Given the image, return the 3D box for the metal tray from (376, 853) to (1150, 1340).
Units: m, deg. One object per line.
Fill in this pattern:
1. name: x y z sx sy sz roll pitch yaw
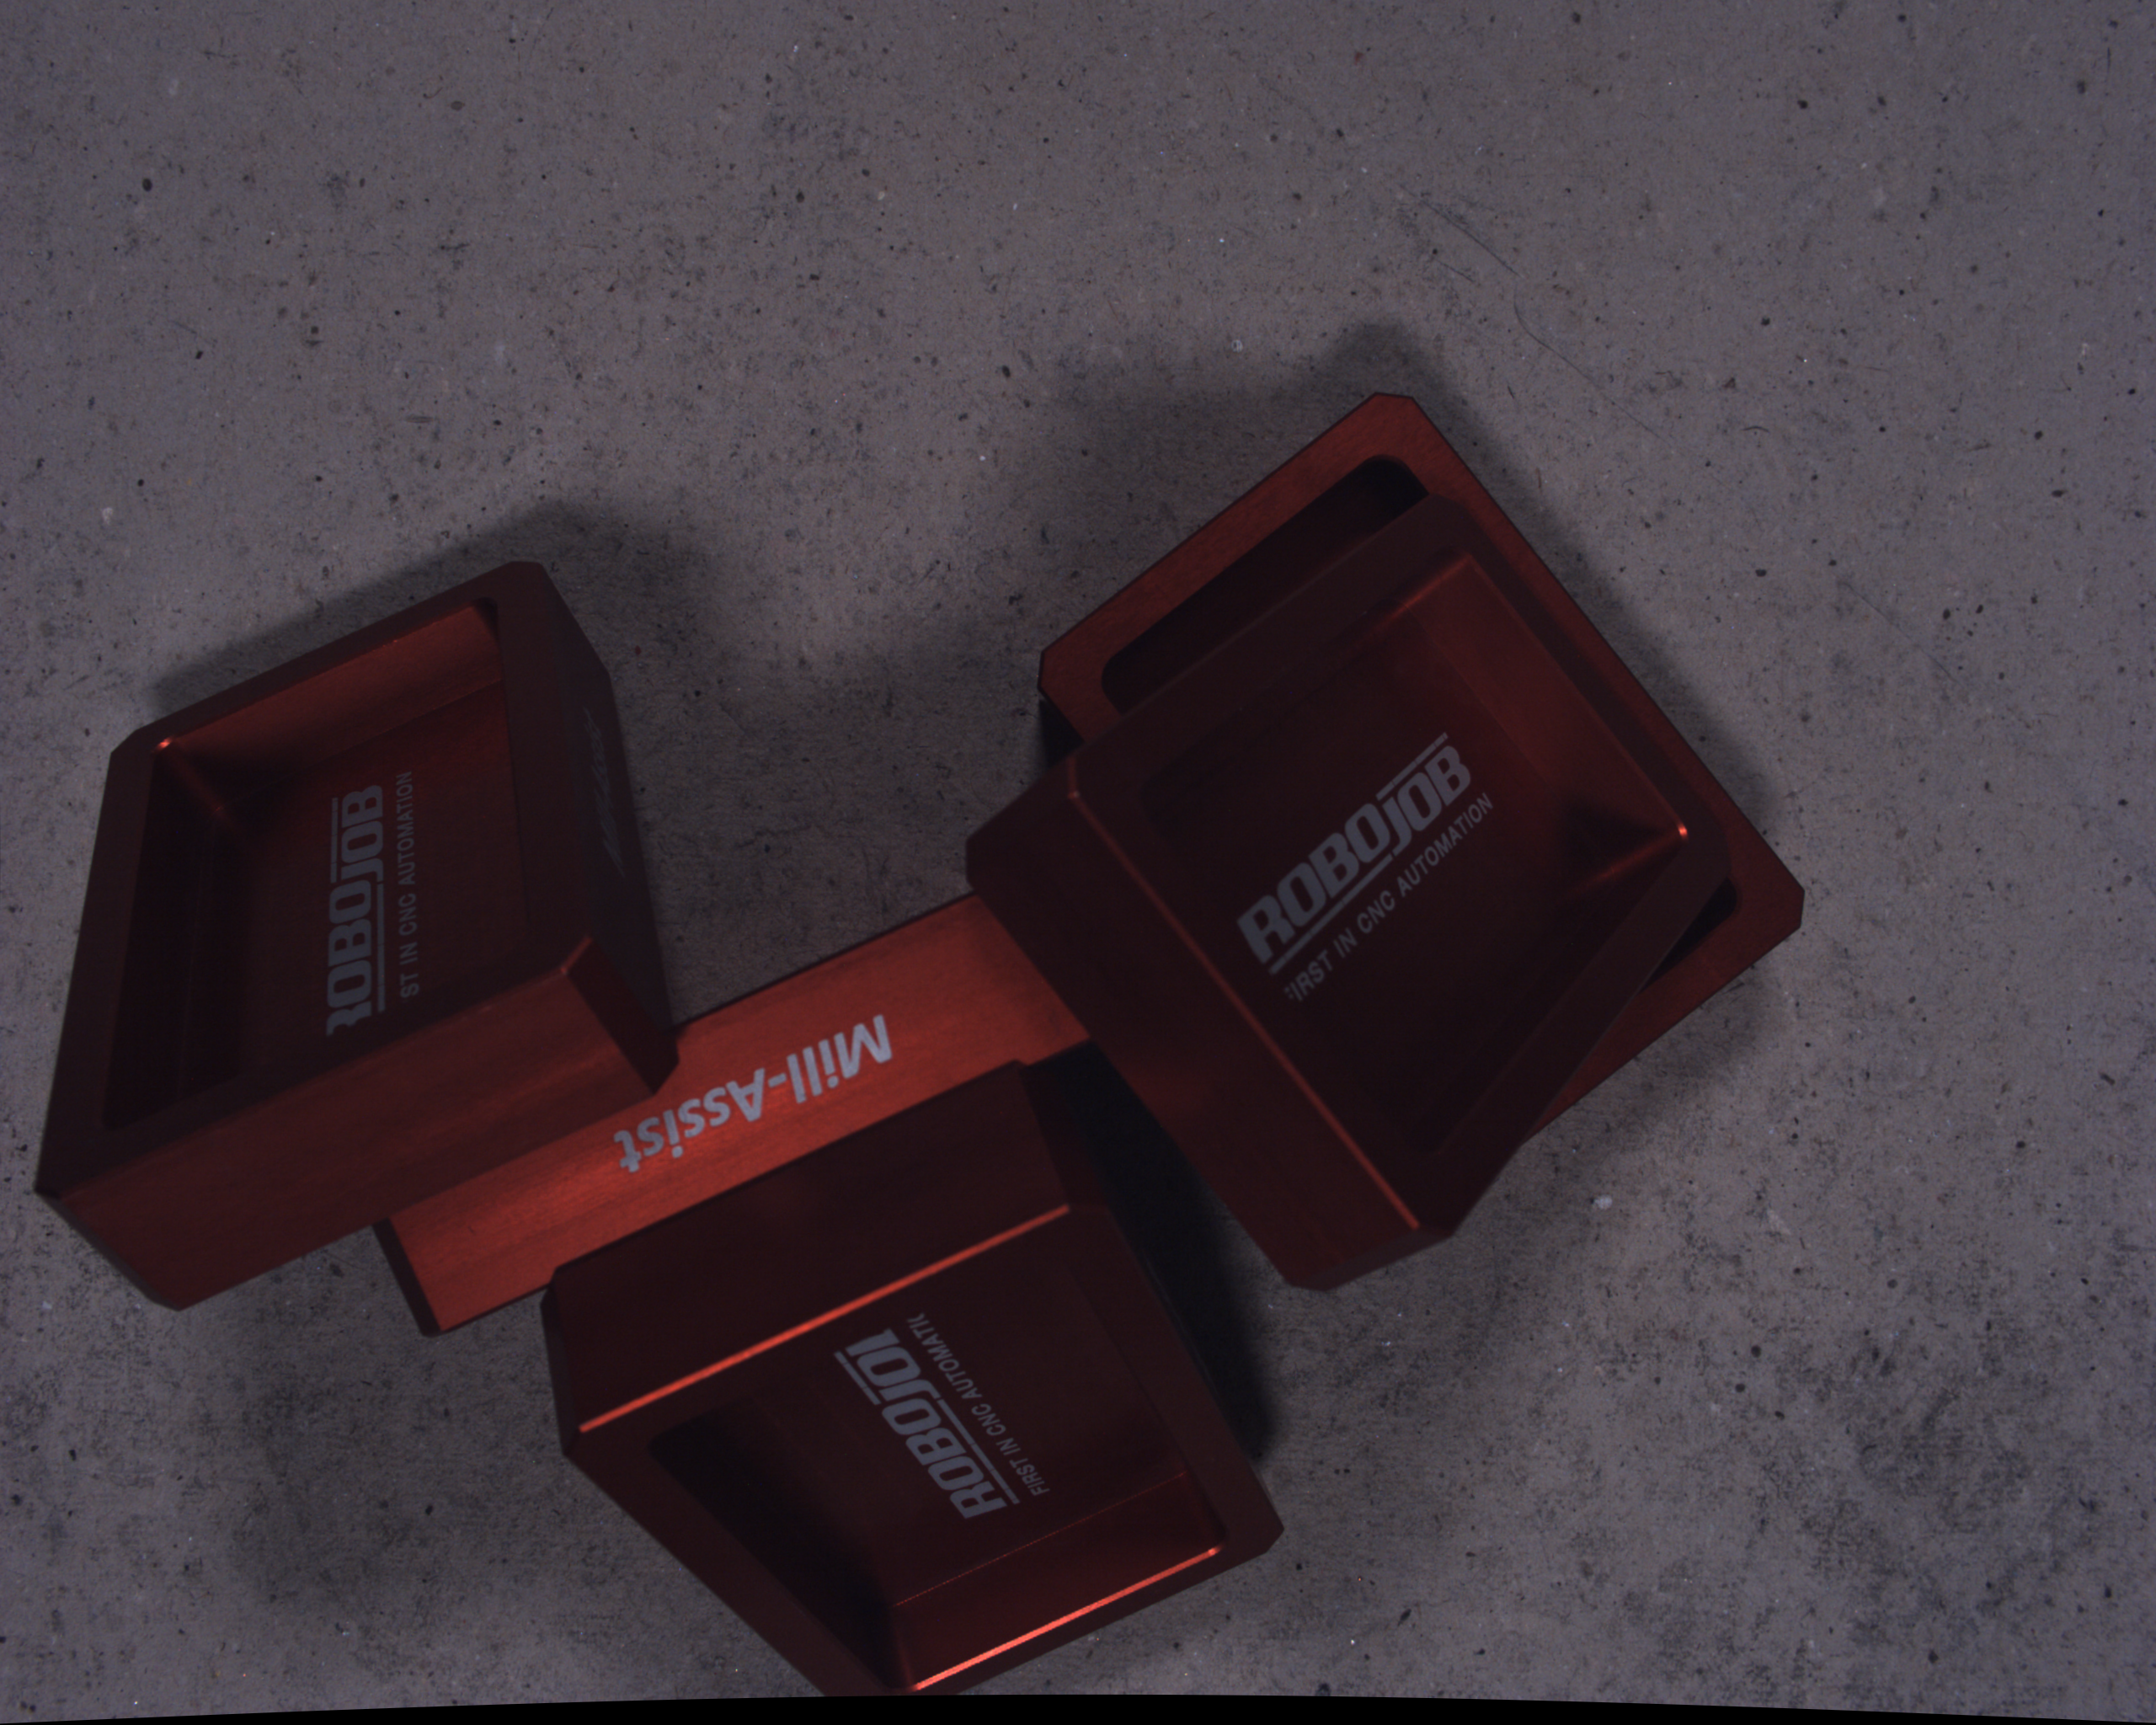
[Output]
1. metal tray: -0.052 0.037 0.378 0.131 0.090 0.030 -25 90 0

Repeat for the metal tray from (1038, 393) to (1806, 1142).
1. metal tray: 0.065 -0.014 0.409 0.090 0.030 0.130 -38 91 -1

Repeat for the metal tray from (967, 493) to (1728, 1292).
1. metal tray: 0.052 -0.001 0.356 0.090 0.030 0.131 52 45 -1

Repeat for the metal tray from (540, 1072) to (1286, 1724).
1. metal tray: -0.023 0.100 0.367 0.090 0.030 0.130 -25 135 0

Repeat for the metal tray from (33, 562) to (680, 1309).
1. metal tray: -0.124 0.005 0.362 0.090 0.130 0.030 -24 129 -1
